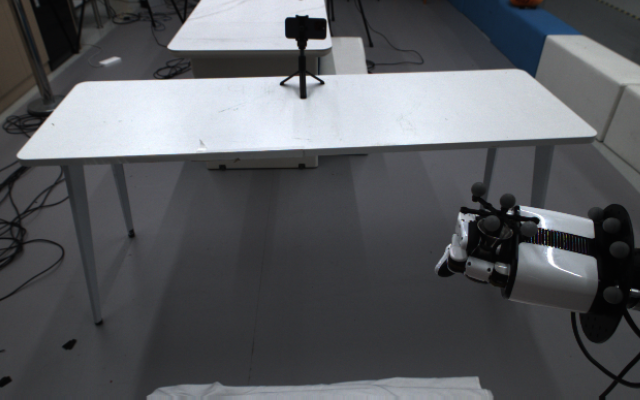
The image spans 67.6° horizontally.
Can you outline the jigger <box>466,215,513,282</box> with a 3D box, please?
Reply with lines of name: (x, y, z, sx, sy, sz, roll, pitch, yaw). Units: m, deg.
jigger: (0.199, 0.060, 0.580, 0.043, 0.071, 0.043, 7, 32, -4)
